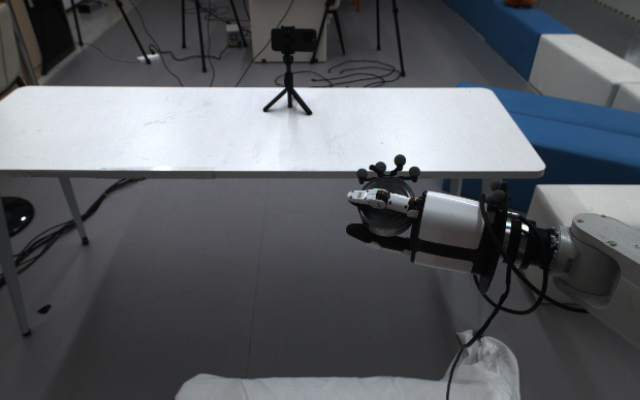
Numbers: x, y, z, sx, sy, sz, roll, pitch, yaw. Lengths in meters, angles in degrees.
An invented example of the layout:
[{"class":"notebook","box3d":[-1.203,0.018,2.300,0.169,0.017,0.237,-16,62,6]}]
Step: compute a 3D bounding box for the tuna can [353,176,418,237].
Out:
[{"class":"tuna can","box3d":[0.099,0.010,0.715,0.085,0.034,0.085,-6,61,10]}]
